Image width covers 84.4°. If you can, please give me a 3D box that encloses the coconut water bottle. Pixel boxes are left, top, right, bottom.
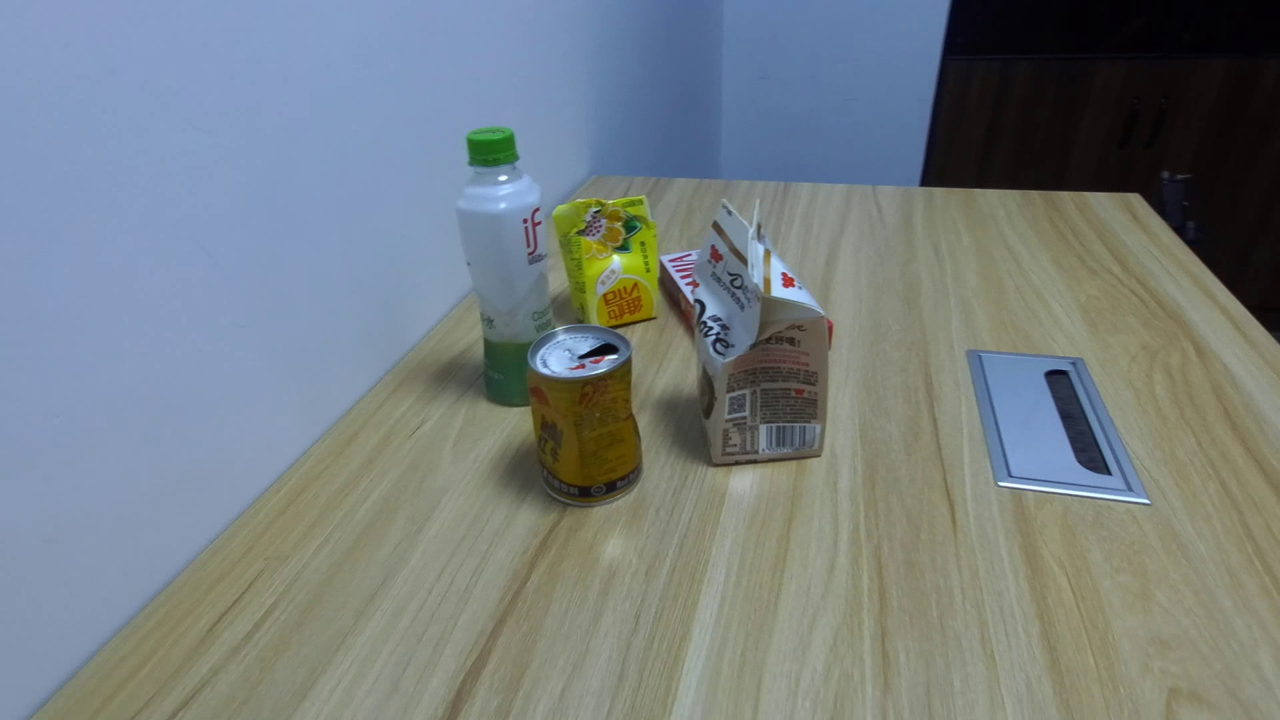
[{"bbox_3d":[-0.091,-0.061,0.494,0.063,0.189,0.063,-2,30,2],"label":"coconut water bottle"}]

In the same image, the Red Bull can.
[{"bbox_3d":[-0.032,0.032,0.427,0.072,0.092,0.072,-2,32,2],"label":"Red Bull can"}]

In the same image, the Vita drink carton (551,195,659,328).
[{"bbox_3d":[-0.027,-0.086,0.607,0.087,0.108,0.042,-11,17,-19],"label":"Vita drink carton"}]

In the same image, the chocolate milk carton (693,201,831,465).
[{"bbox_3d":[0.074,-0.018,0.438,0.073,0.156,0.076,-6,32,-1],"label":"chocolate milk carton"}]

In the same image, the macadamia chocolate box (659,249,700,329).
[{"bbox_3d":[0.082,-0.045,0.594,0.096,0.027,0.177,-9,35,-11],"label":"macadamia chocolate box"}]
